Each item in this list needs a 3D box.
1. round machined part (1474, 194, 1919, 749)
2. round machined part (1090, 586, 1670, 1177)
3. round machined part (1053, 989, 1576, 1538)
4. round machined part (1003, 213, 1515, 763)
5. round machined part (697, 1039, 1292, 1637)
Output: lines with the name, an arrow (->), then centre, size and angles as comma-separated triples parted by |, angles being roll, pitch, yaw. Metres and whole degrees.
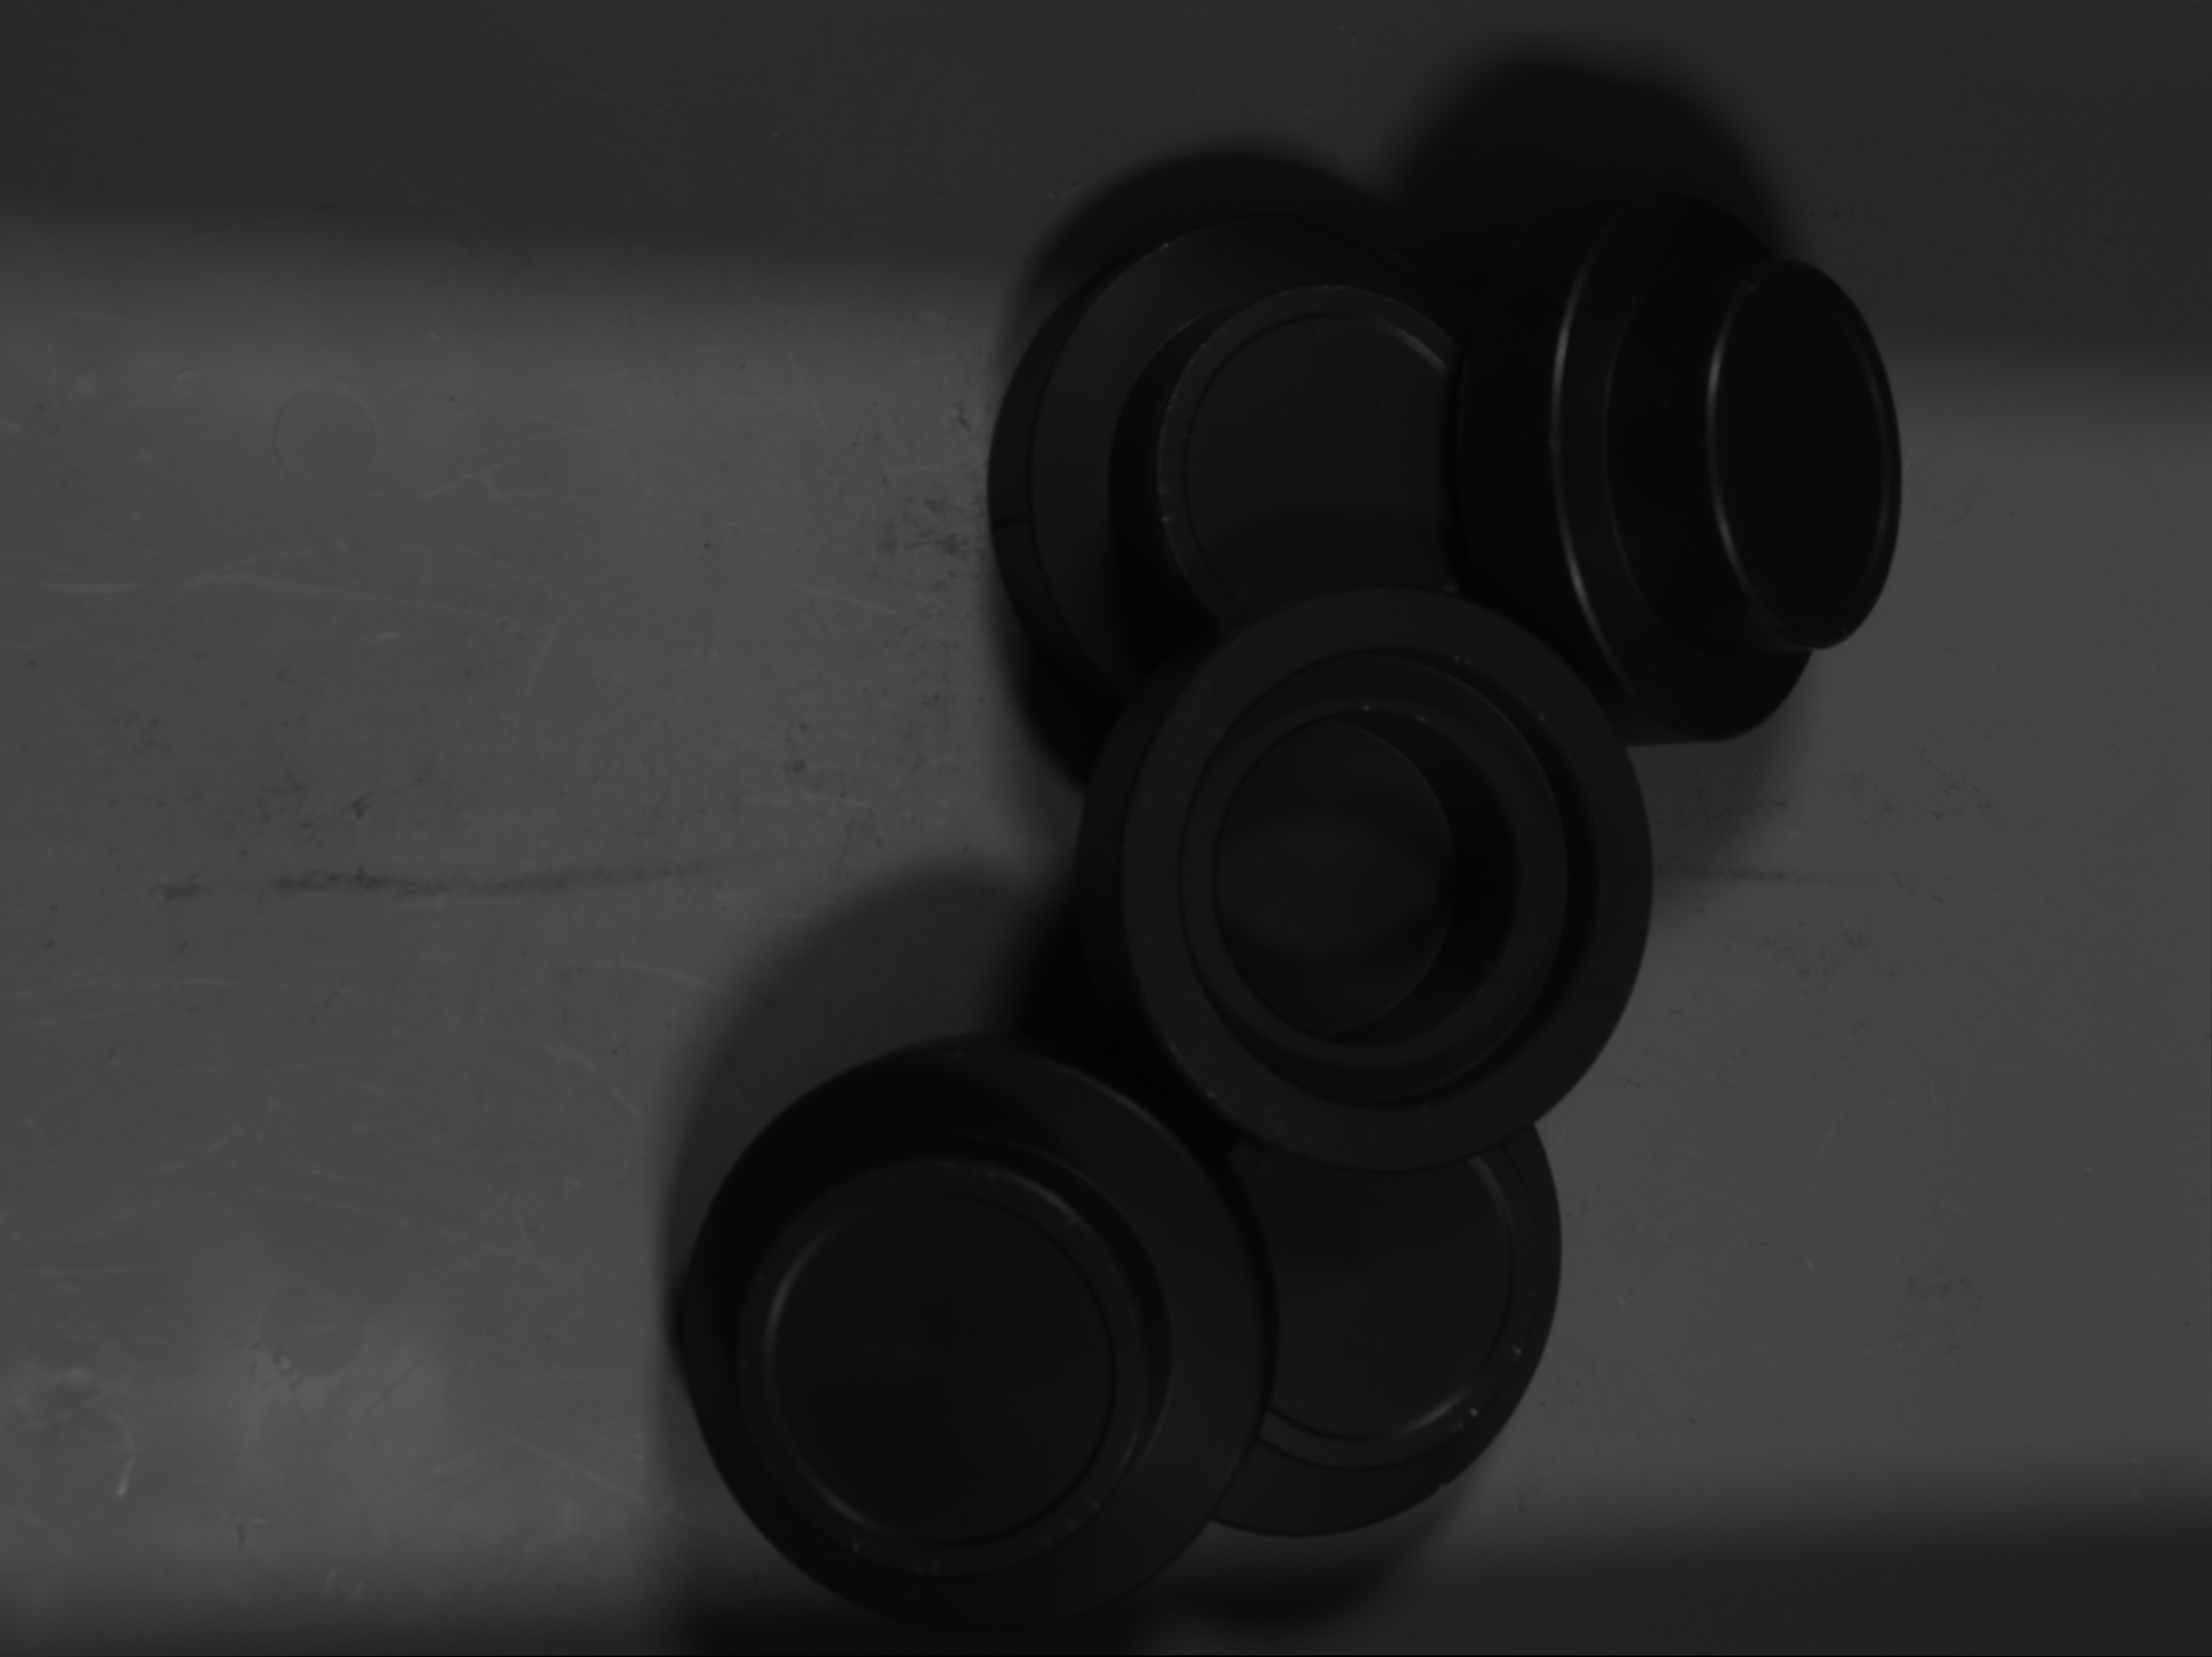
round machined part -> 0.110, -0.064, 0.650 | 0.098, 0.042, 0.098 | 5, 84, -50
round machined part -> 0.043, 0.009, 0.625 | 0.098, 0.042, 0.098 | 0, 90, -20
round machined part -> 0.040, 0.077, 0.647 | 0.098, 0.042, 0.098 | 0, 90, -20
round machined part -> 0.035, -0.060, 0.645 | 0.098, 0.042, 0.098 | 0, 90, -20
round machined part -> -0.020, 0.085, 0.603 | 0.098, 0.042, 0.098 | 1, 93, 10
